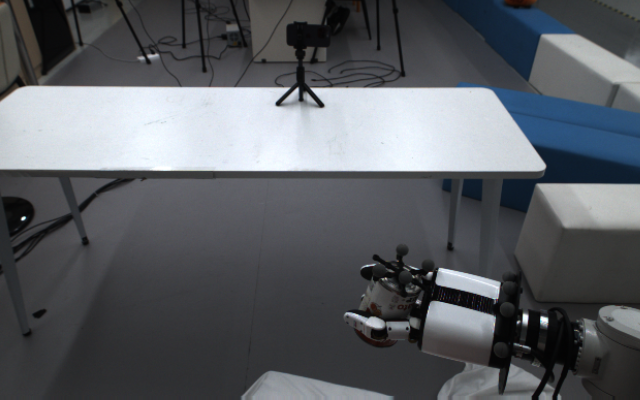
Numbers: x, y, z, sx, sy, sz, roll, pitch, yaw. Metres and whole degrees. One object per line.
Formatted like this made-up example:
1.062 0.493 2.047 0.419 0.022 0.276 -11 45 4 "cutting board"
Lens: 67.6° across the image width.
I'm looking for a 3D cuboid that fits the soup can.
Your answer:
0.093 0.142 0.661 0.067 0.101 0.067 13 30 -8 "soup can"
